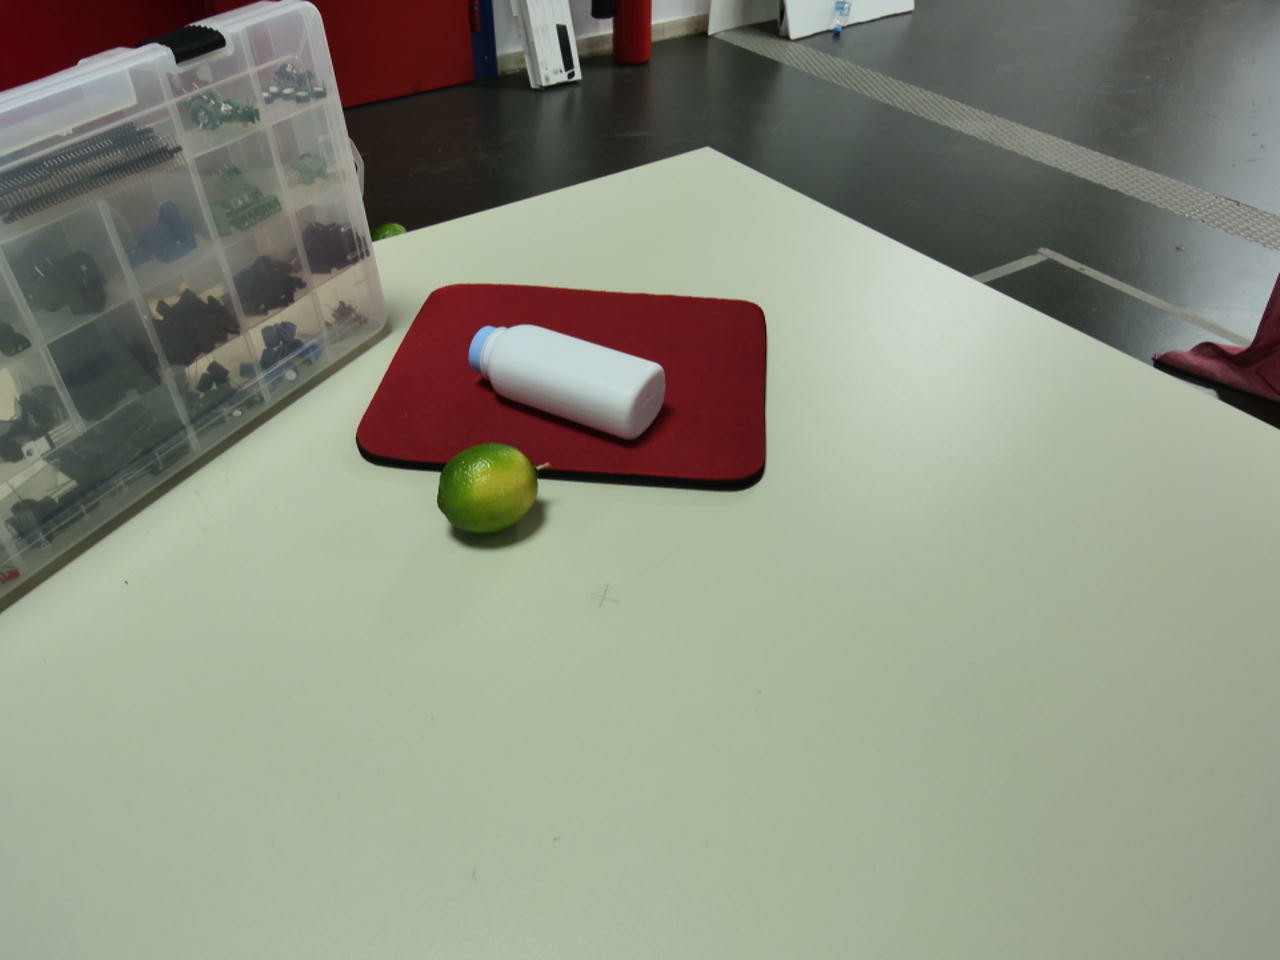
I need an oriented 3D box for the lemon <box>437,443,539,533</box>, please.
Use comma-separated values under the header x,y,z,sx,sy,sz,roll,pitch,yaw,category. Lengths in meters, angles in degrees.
x,y,z,sx,sy,sz,roll,pitch,yaw,category
-0.087,0.004,0.574,0.055,0.050,0.054,10,39,10,lemon
